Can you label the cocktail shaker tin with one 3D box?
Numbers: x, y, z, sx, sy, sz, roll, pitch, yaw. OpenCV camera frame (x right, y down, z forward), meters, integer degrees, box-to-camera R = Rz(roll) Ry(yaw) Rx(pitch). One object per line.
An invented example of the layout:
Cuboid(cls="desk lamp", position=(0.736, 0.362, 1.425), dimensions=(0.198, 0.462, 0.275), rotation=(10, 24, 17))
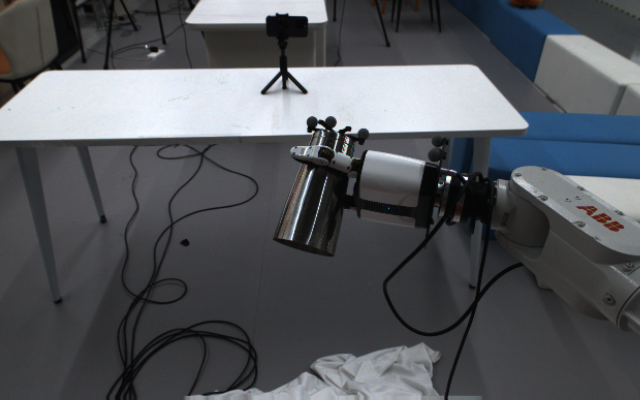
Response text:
Cuboid(cls="cocktail shaker tin", position=(0.001, -0.014, 0.707), dimensions=(0.093, 0.093, 0.170), rotation=(13, 77, 15))
